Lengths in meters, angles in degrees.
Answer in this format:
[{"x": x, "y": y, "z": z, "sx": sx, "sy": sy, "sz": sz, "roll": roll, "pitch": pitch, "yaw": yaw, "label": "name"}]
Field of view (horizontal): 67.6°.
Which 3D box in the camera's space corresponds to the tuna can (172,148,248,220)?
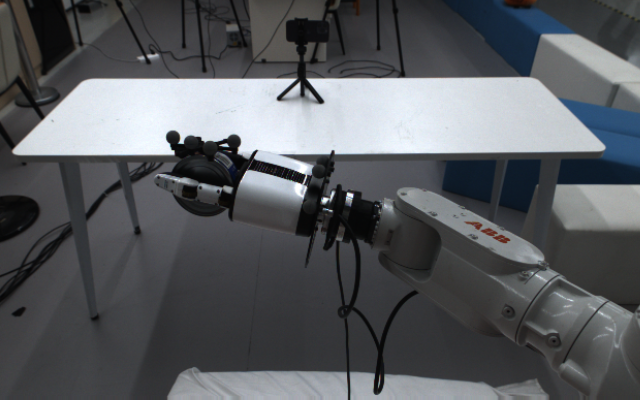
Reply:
[{"x": -0.149, "y": -0.022, "z": 0.638, "sx": 0.085, "sy": 0.085, "sz": 0.034, "roll": 5, "pitch": 22, "yaw": 5, "label": "tuna can"}]
